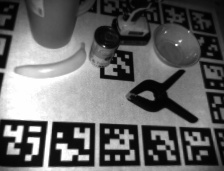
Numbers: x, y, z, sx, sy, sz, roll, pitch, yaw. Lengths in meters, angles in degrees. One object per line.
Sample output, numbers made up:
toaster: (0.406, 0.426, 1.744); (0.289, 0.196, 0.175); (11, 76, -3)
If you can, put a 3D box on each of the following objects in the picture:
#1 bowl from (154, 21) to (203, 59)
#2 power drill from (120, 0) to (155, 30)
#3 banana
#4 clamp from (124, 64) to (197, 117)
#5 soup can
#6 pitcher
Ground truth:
bowl: (0.195, -0.136, 0.672); (0.163, 0.055, 0.161); (5, 68, -13)
power drill: (0.109, -0.233, 0.594); (0.186, 0.186, 0.057); (1, 67, -15)
banana: (-0.150, -0.085, 0.567); (0.199, 0.039, 0.073); (-19, 66, -23)
clamp: (0.134, 0.004, 0.600); (0.204, 0.036, 0.165); (4, 71, -14)
soup can: (-0.022, -0.131, 0.585); (0.068, 0.102, 0.067); (7, 58, -11)
pitcher: (-0.122, -0.228, 0.518); (0.190, 0.242, 0.132); (-18, 70, -21)
